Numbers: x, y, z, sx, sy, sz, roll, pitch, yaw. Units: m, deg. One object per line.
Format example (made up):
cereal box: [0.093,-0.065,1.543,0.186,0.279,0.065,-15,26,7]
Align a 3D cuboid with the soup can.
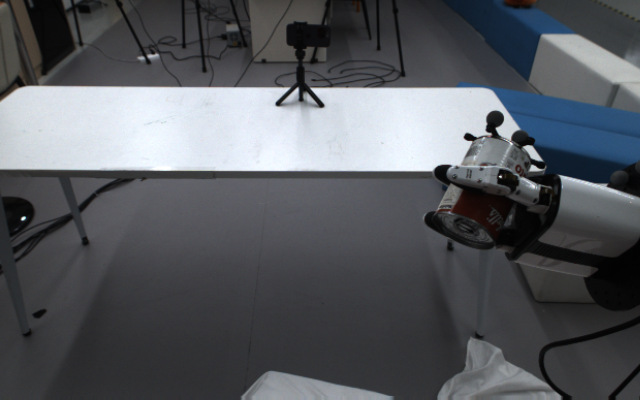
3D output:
soup can: [0.173,-0.009,0.507,0.067,0.067,0.101,22,71,26]
